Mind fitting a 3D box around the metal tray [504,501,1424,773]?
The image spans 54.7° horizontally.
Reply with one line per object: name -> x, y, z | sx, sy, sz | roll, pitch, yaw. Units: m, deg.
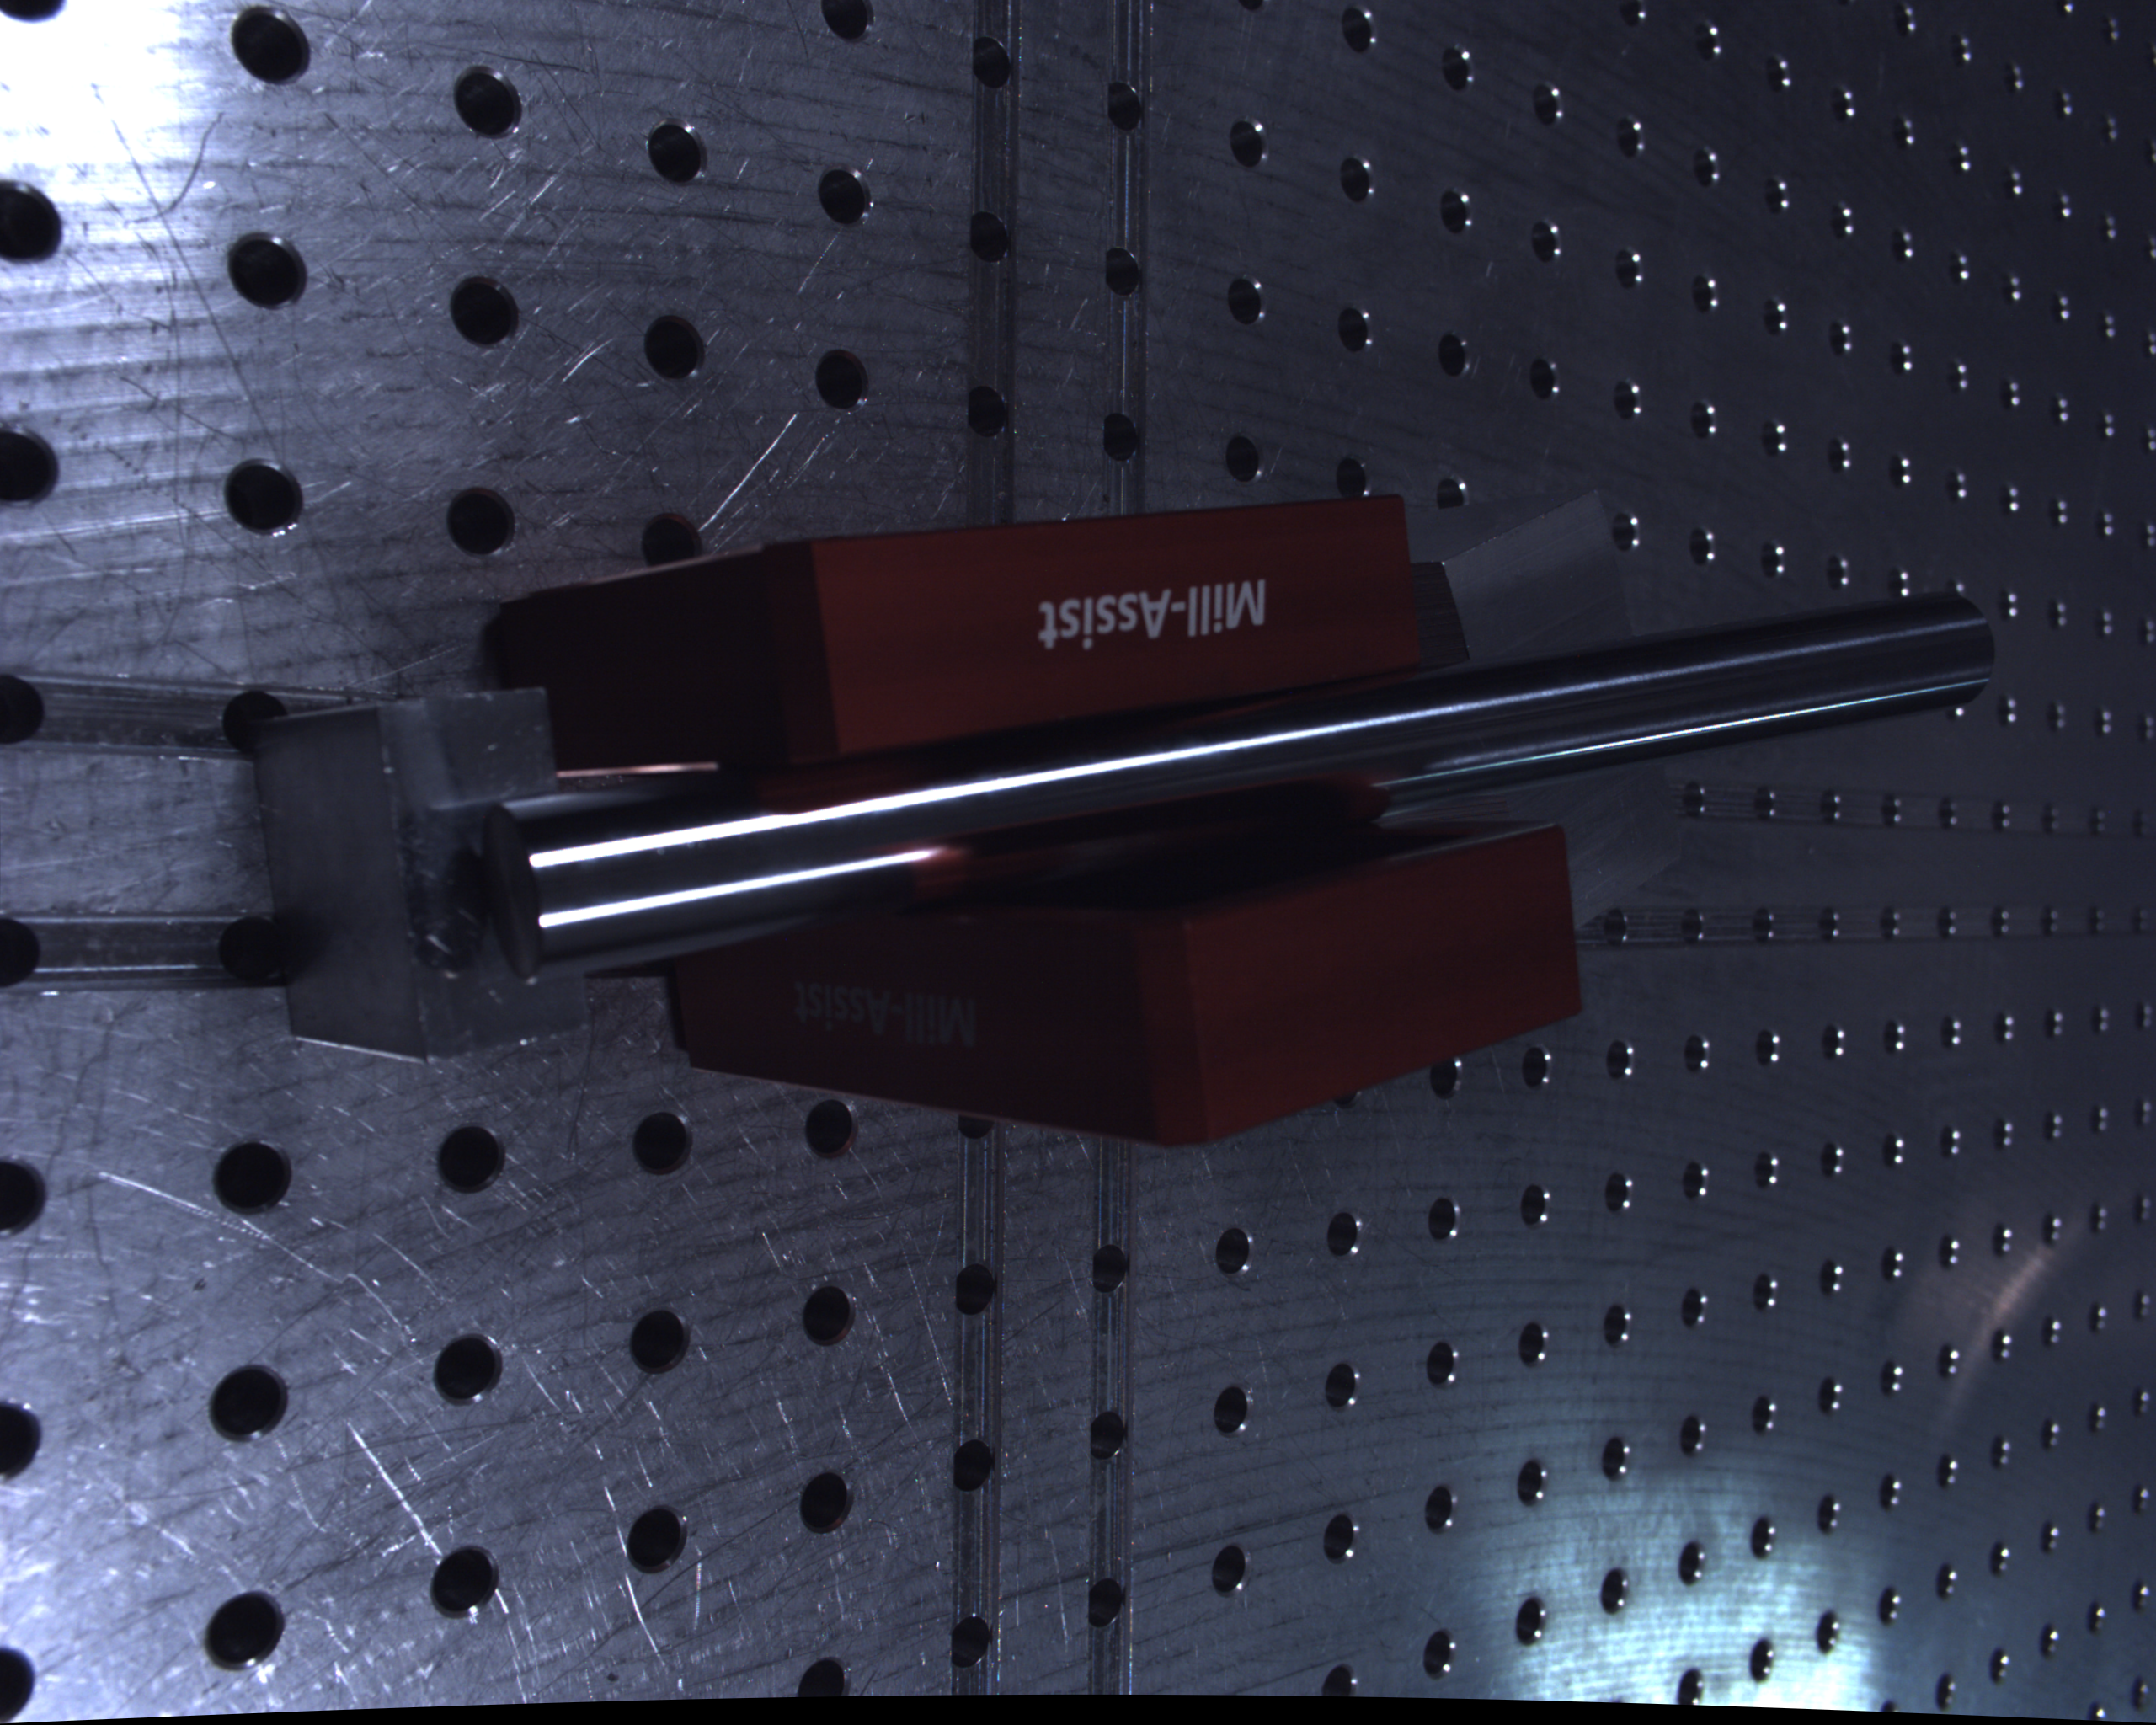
metal tray -> -0.017, -0.039, 0.353 | 0.131, 0.090, 0.030 | -12, 99, -40

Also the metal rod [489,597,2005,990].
metal rod -> 0.053, -0.019, 0.357 | 0.303, 0.025, 0.025 | -11, 97, -30

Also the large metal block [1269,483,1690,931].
large metal block -> 0.070, -0.028, 0.433 | 0.050, 0.080, 0.080 | -29, 108, -37

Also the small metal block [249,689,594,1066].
small metal block -> -0.099, 0.001, 0.311 | 0.025, 0.050, 0.050 | -11, 97, -40

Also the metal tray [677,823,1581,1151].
metal tray -> 0.004, 0.015, 0.346 | 0.091, 0.130, 0.030 | -13, 99, -40
